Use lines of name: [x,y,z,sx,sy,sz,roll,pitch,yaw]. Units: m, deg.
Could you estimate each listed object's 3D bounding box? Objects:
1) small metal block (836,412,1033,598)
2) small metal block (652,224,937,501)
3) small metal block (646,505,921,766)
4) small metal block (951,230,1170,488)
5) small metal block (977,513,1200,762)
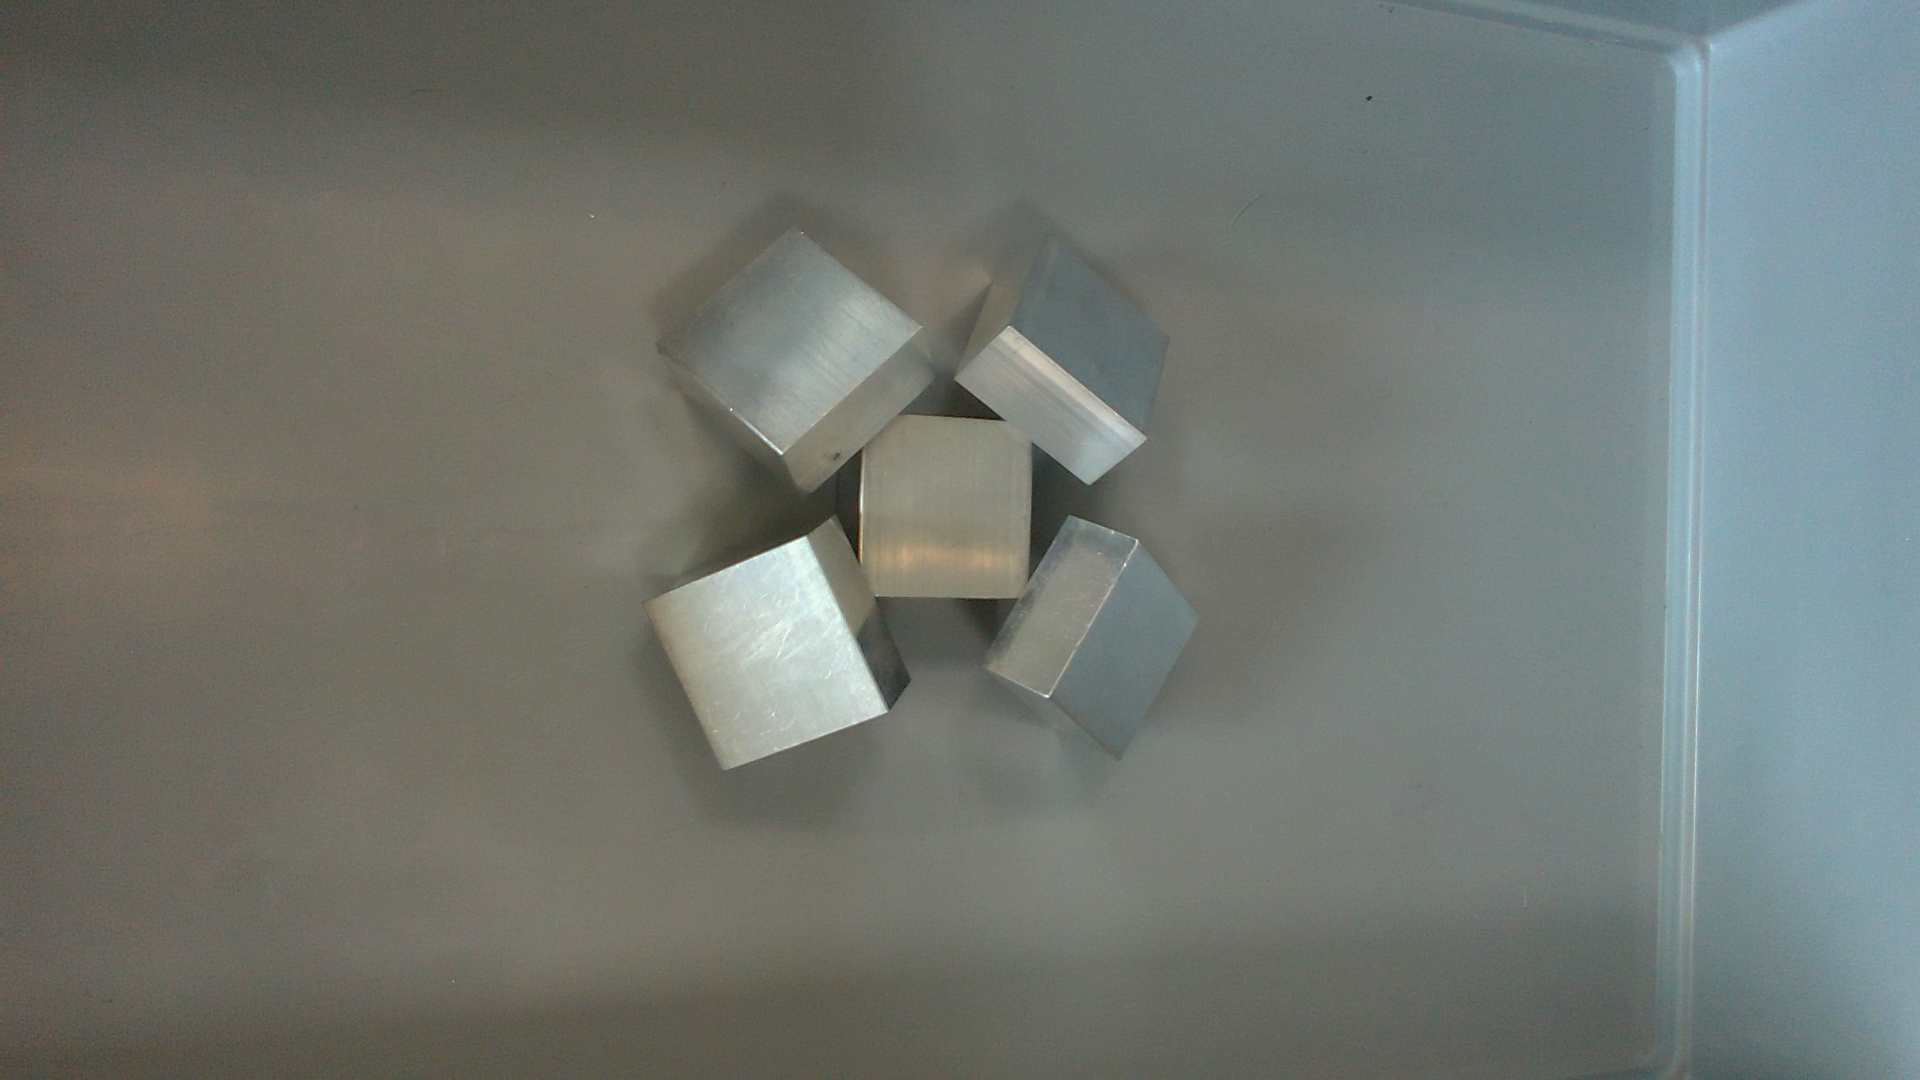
small metal block: [-0.008,-0.010,0.388,0.050,0.025,0.050,2,90,-20]
small metal block: [-0.043,-0.047,0.363,0.050,0.025,0.050,40,75,23]
small metal block: [-0.046,0.025,0.363,0.050,0.025,0.050,-21,99,19]
small metal block: [0.030,-0.052,0.390,0.050,0.025,0.050,37,41,-17]
small metal block: [0.038,0.029,0.394,0.050,0.025,0.050,-58,141,-11]
